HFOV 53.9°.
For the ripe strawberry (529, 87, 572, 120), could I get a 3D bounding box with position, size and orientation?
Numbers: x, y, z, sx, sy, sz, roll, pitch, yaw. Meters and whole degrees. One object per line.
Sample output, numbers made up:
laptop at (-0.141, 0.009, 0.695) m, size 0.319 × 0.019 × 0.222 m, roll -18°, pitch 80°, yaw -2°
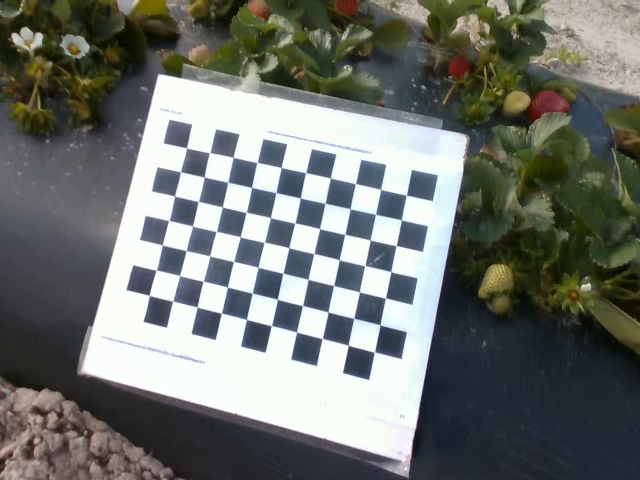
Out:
ripe strawberry at (0.302, -0.173, 0.819) m, size 0.048 × 0.051 × 0.055 m, roll 47°, pitch -3°, yaw -24°
